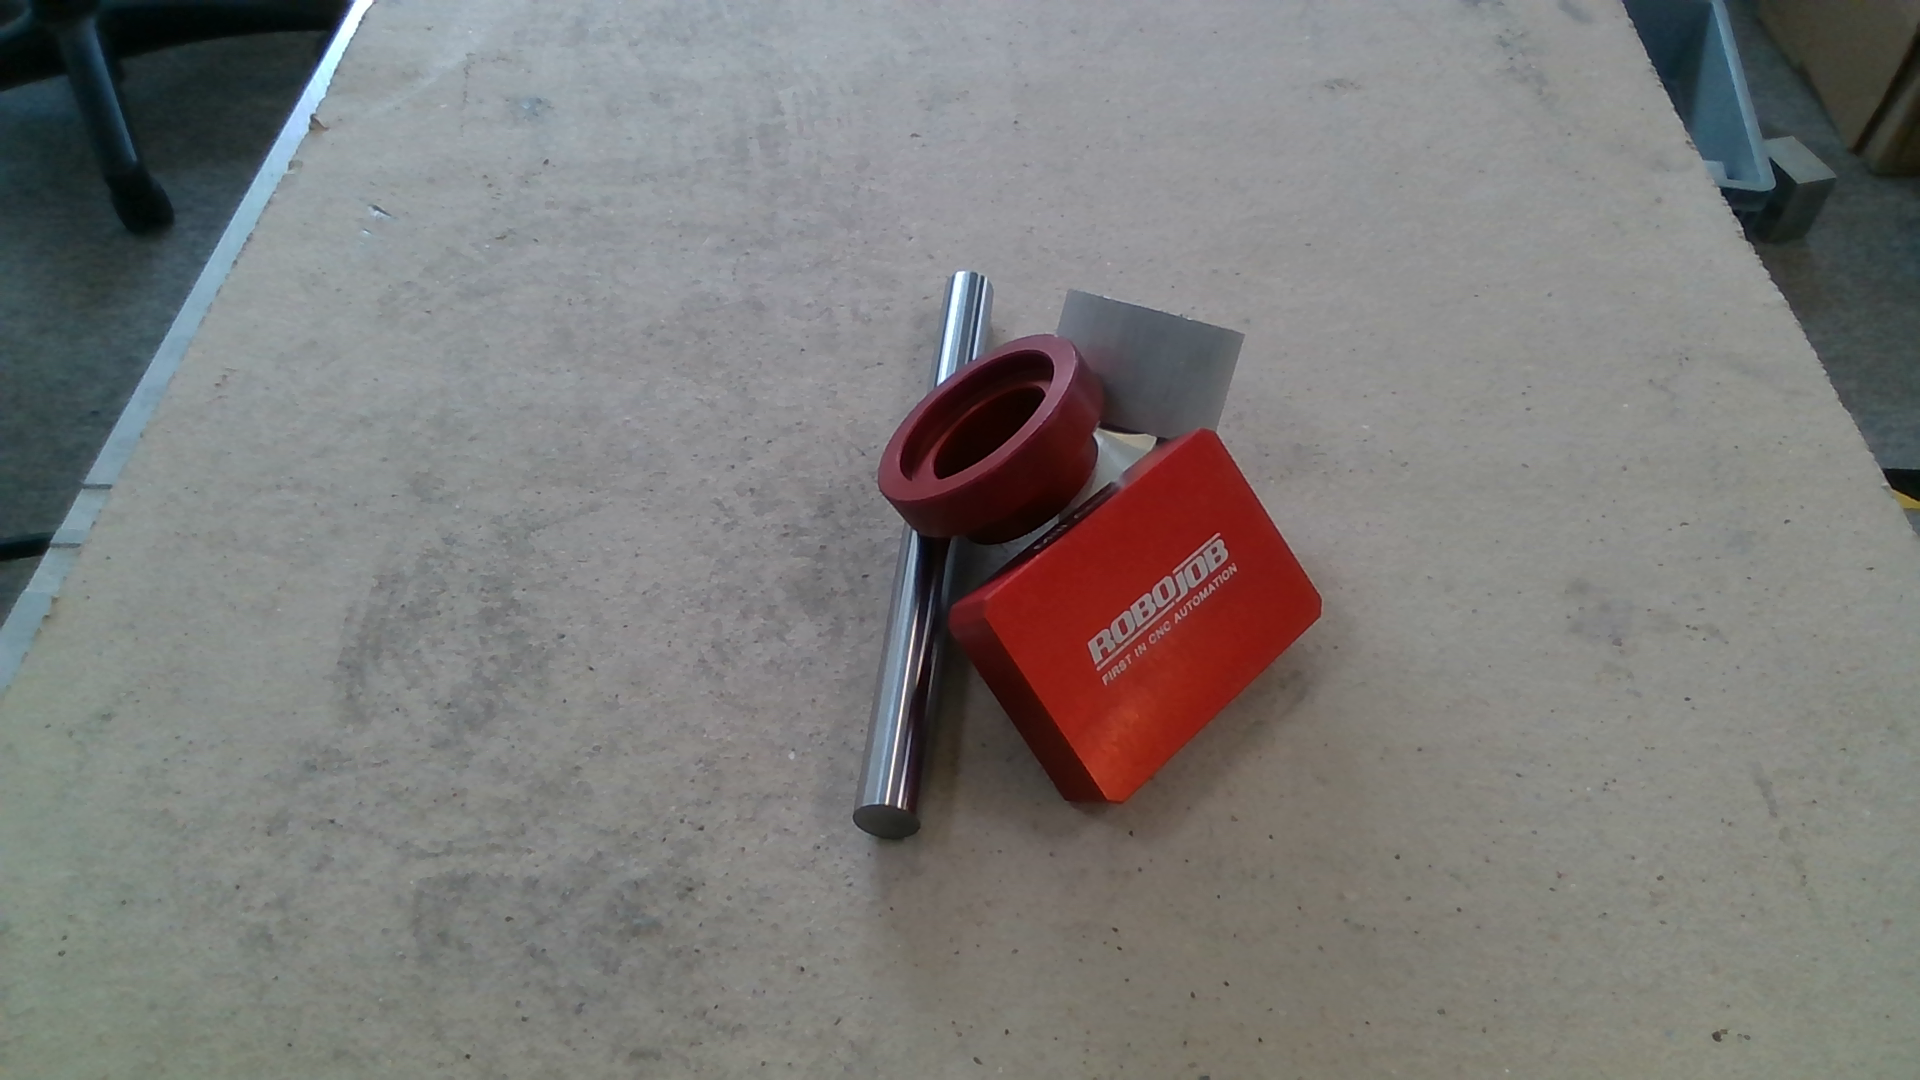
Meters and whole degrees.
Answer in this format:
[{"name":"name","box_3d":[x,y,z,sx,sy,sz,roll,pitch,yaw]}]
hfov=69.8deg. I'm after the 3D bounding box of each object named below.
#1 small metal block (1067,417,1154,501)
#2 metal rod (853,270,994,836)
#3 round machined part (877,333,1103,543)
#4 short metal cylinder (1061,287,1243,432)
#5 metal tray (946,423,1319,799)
[{"name":"small metal block","box_3d":[0.060,-0.015,0.582,0.025,0.050,0.050,19,53,15]},{"name":"metal rod","box_3d":[-0.011,-0.012,0.598,0.025,0.025,0.299,5,50,4]},{"name":"round machined part","box_3d":[0.017,-0.037,0.567,0.098,0.042,0.098,-29,31,19]},{"name":"short metal cylinder","box_3d":[0.080,-0.078,0.610,0.080,0.050,0.080,14,10,-3]},{"name":"metal tray","box_3d":[0.069,0.026,0.529,0.130,0.030,0.090,-37,98,-27]}]
